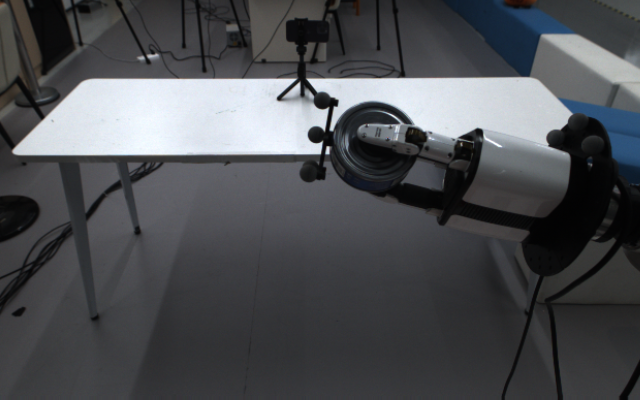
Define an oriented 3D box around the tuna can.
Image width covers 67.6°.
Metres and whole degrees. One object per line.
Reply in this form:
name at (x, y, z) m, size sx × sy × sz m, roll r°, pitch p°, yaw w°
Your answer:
tuna can at (0.057, -0.050, 0.477) m, size 0.085 × 0.034 × 0.085 m, roll 2°, pitch 73°, yaw -5°
